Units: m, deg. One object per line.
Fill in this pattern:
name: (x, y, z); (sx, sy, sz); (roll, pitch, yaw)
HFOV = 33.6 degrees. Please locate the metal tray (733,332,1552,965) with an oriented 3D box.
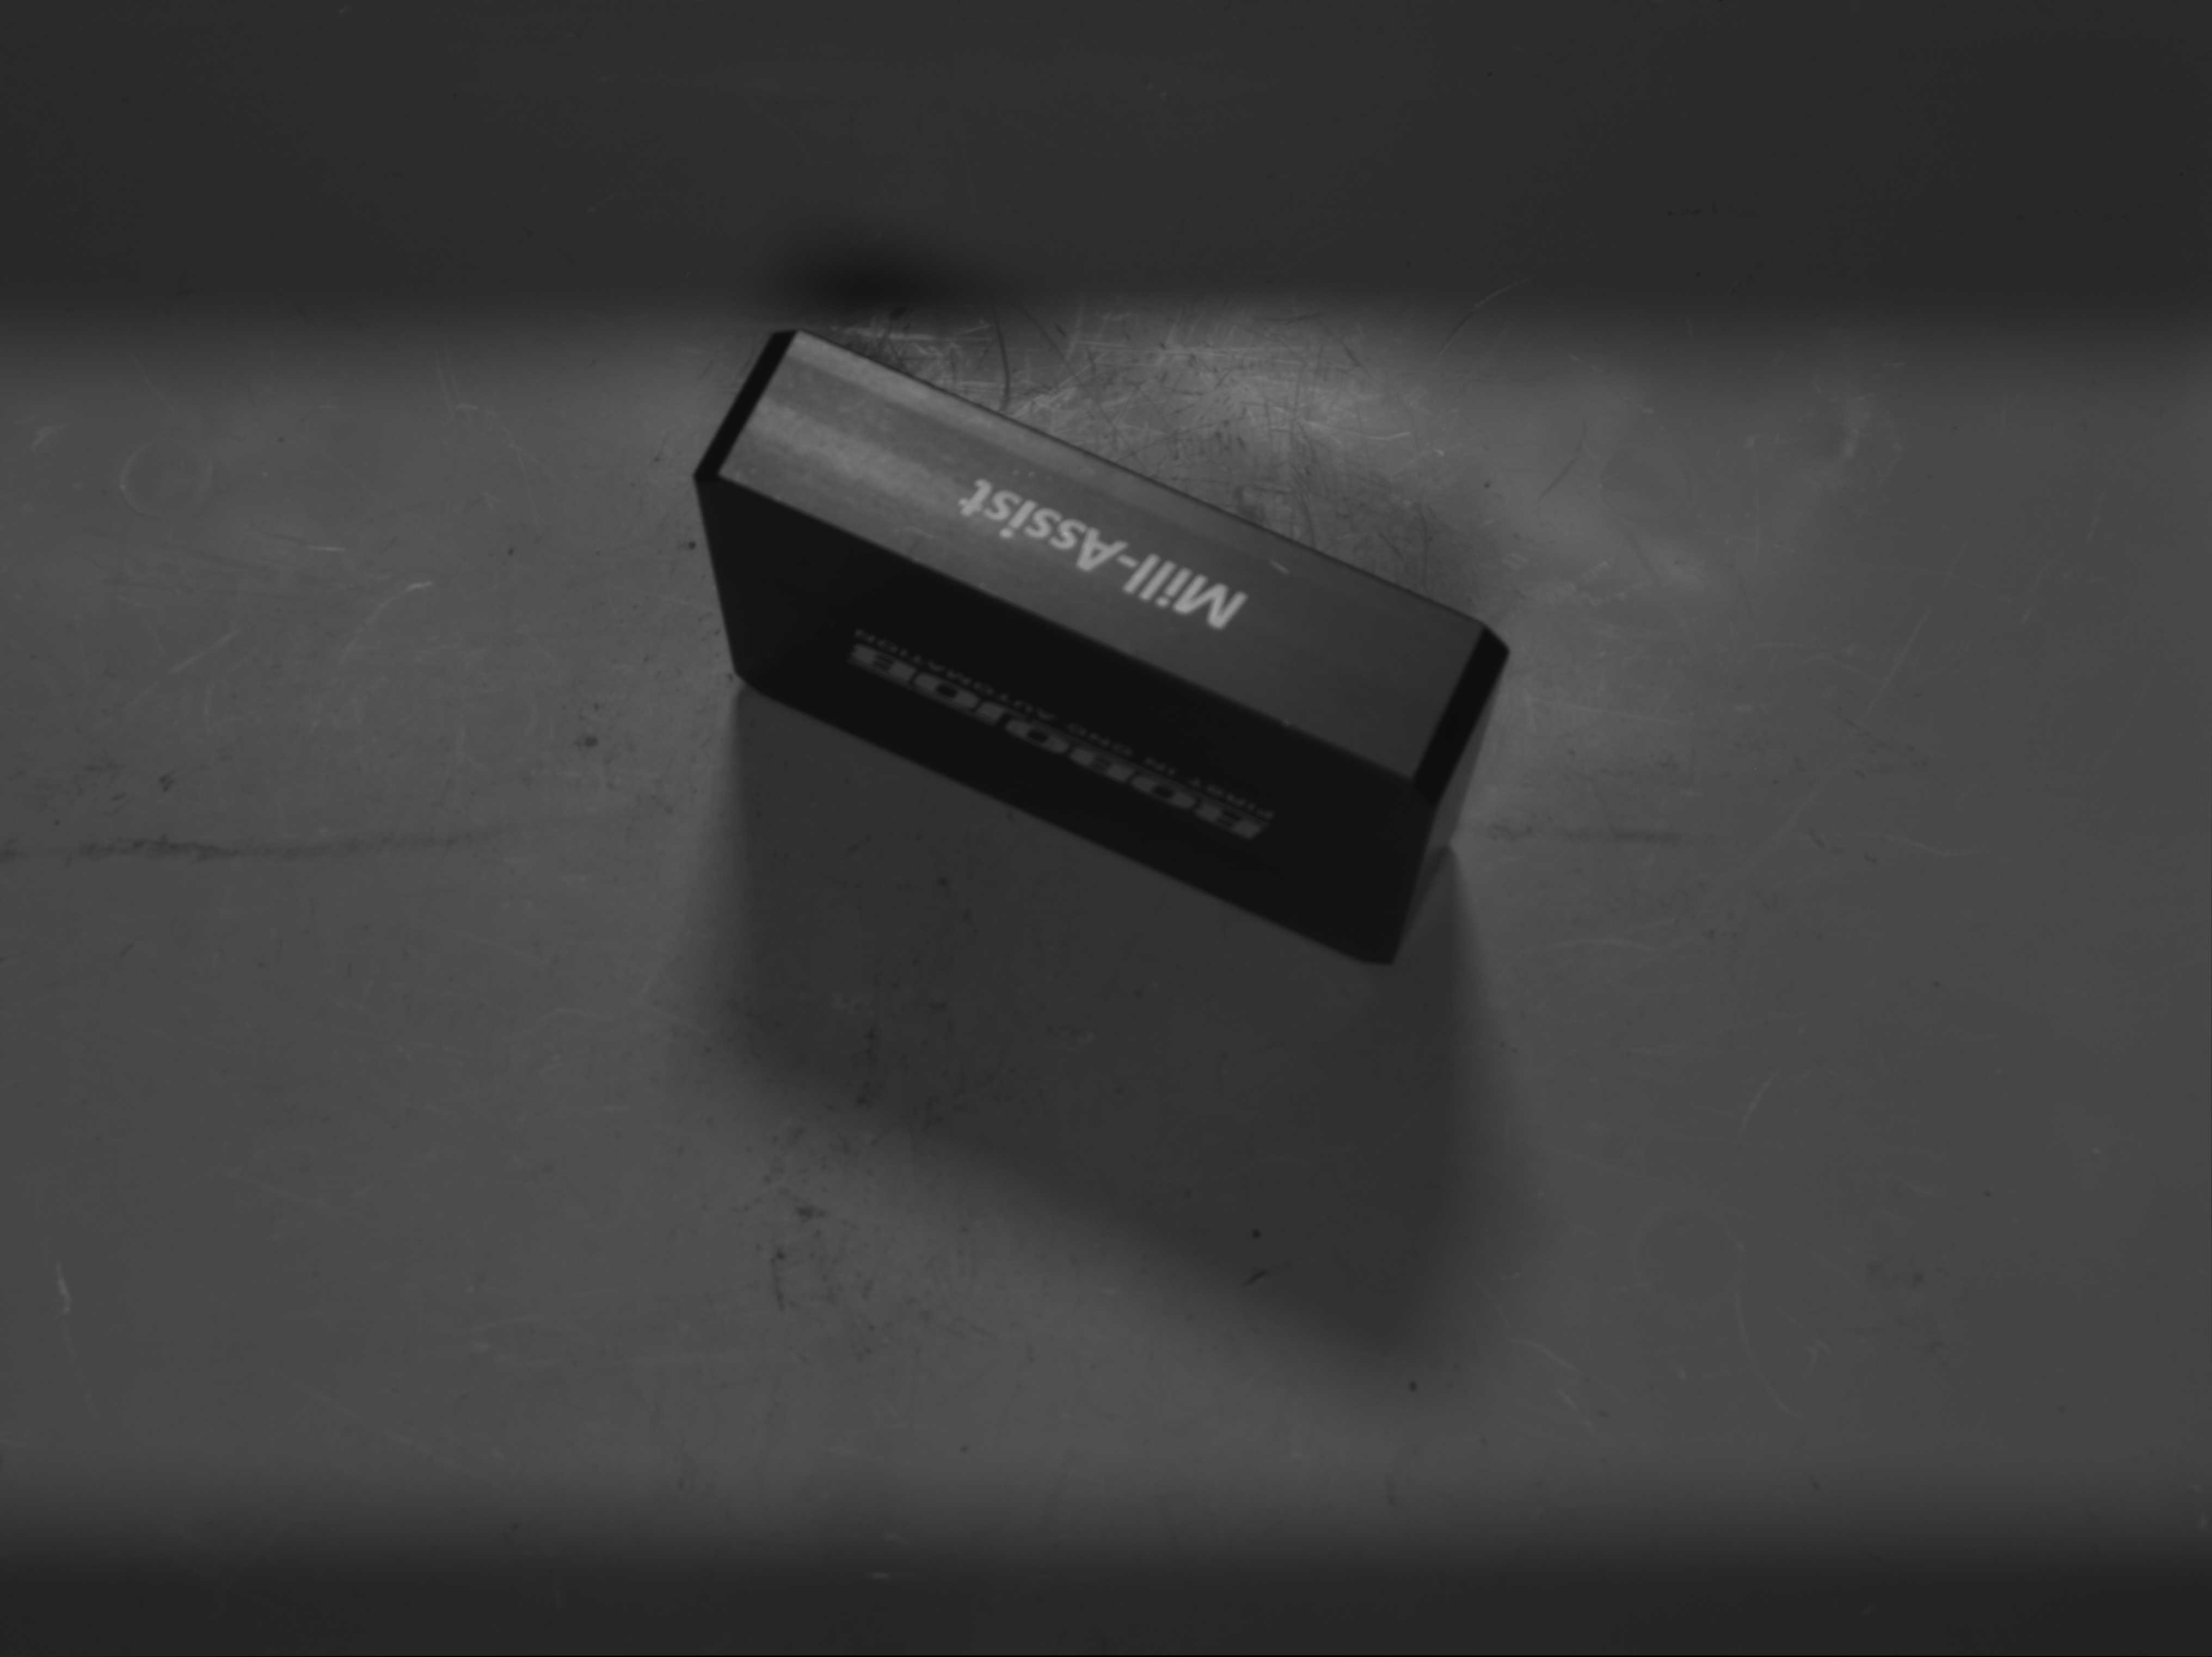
metal tray: (0.005, -0.028, 0.617); (0.130, 0.090, 0.030); (24, 72, 8)
